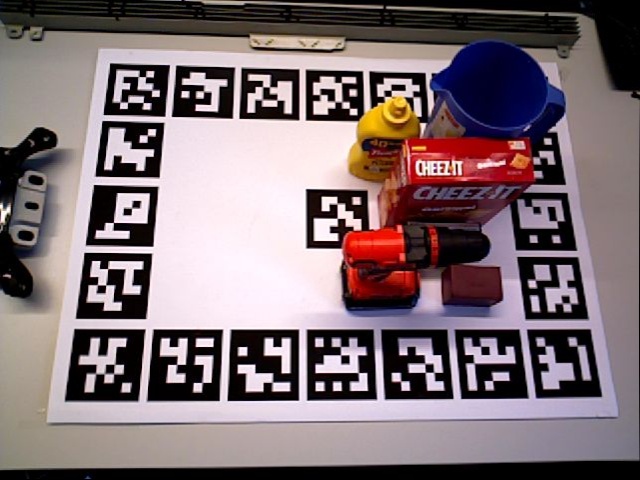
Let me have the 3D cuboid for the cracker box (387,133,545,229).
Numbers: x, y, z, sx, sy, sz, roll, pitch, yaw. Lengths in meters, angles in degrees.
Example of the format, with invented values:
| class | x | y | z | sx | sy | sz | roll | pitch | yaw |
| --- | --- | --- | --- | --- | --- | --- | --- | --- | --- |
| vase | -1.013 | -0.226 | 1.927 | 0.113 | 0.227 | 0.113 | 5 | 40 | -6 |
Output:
| class | x | y | z | sx | sy | sz | roll | pitch | yaw |
| --- | --- | --- | --- | --- | --- | --- | --- | --- | --- |
| cracker box | 0.189 | -0.061 | 0.750 | 0.163 | 0.216 | 0.071 | -1 | 70 | -2 |

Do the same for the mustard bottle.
| class | x | y | z | sx | sy | sz | roll | pitch | yaw |
| --- | --- | --- | --- | --- | --- | --- | --- | --- | --- |
| mustard bottle | 0.103 | -0.158 | 0.780 | 0.096 | 0.194 | 0.058 | 14 | 73 | 1 |

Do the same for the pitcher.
| class | x | y | z | sx | sy | sz | roll | pitch | yaw |
| --- | --- | --- | --- | --- | --- | --- | --- | --- | --- |
| pitcher | 0.236 | -0.159 | 0.775 | 0.188 | 0.245 | 0.132 | 7 | 72 | 0 |

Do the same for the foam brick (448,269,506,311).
| class | x | y | z | sx | sy | sz | roll | pitch | yaw |
| --- | --- | --- | --- | --- | --- | --- | --- | --- | --- |
| foam brick | 0.233 | 0.075 | 0.804 | 0.077 | 0.052 | 0.052 | 3 | 74 | -2 |

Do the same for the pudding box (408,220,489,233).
| class | x | y | z | sx | sy | sz | roll | pitch | yaw |
| --- | --- | --- | --- | --- | --- | --- | --- | --- | --- |
| pudding box | 0.178 | 0.003 | 0.788 | 0.113 | 0.091 | 0.038 | 1 | 71 | 0 |

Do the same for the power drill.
| class | x | y | z | sx | sy | sz | roll | pitch | yaw |
| --- | --- | --- | --- | --- | --- | --- | --- | --- | --- |
| power drill | 0.122 | 0.038 | 0.701 | 0.183 | 0.190 | 0.057 | 0 | 69 | -4 |
